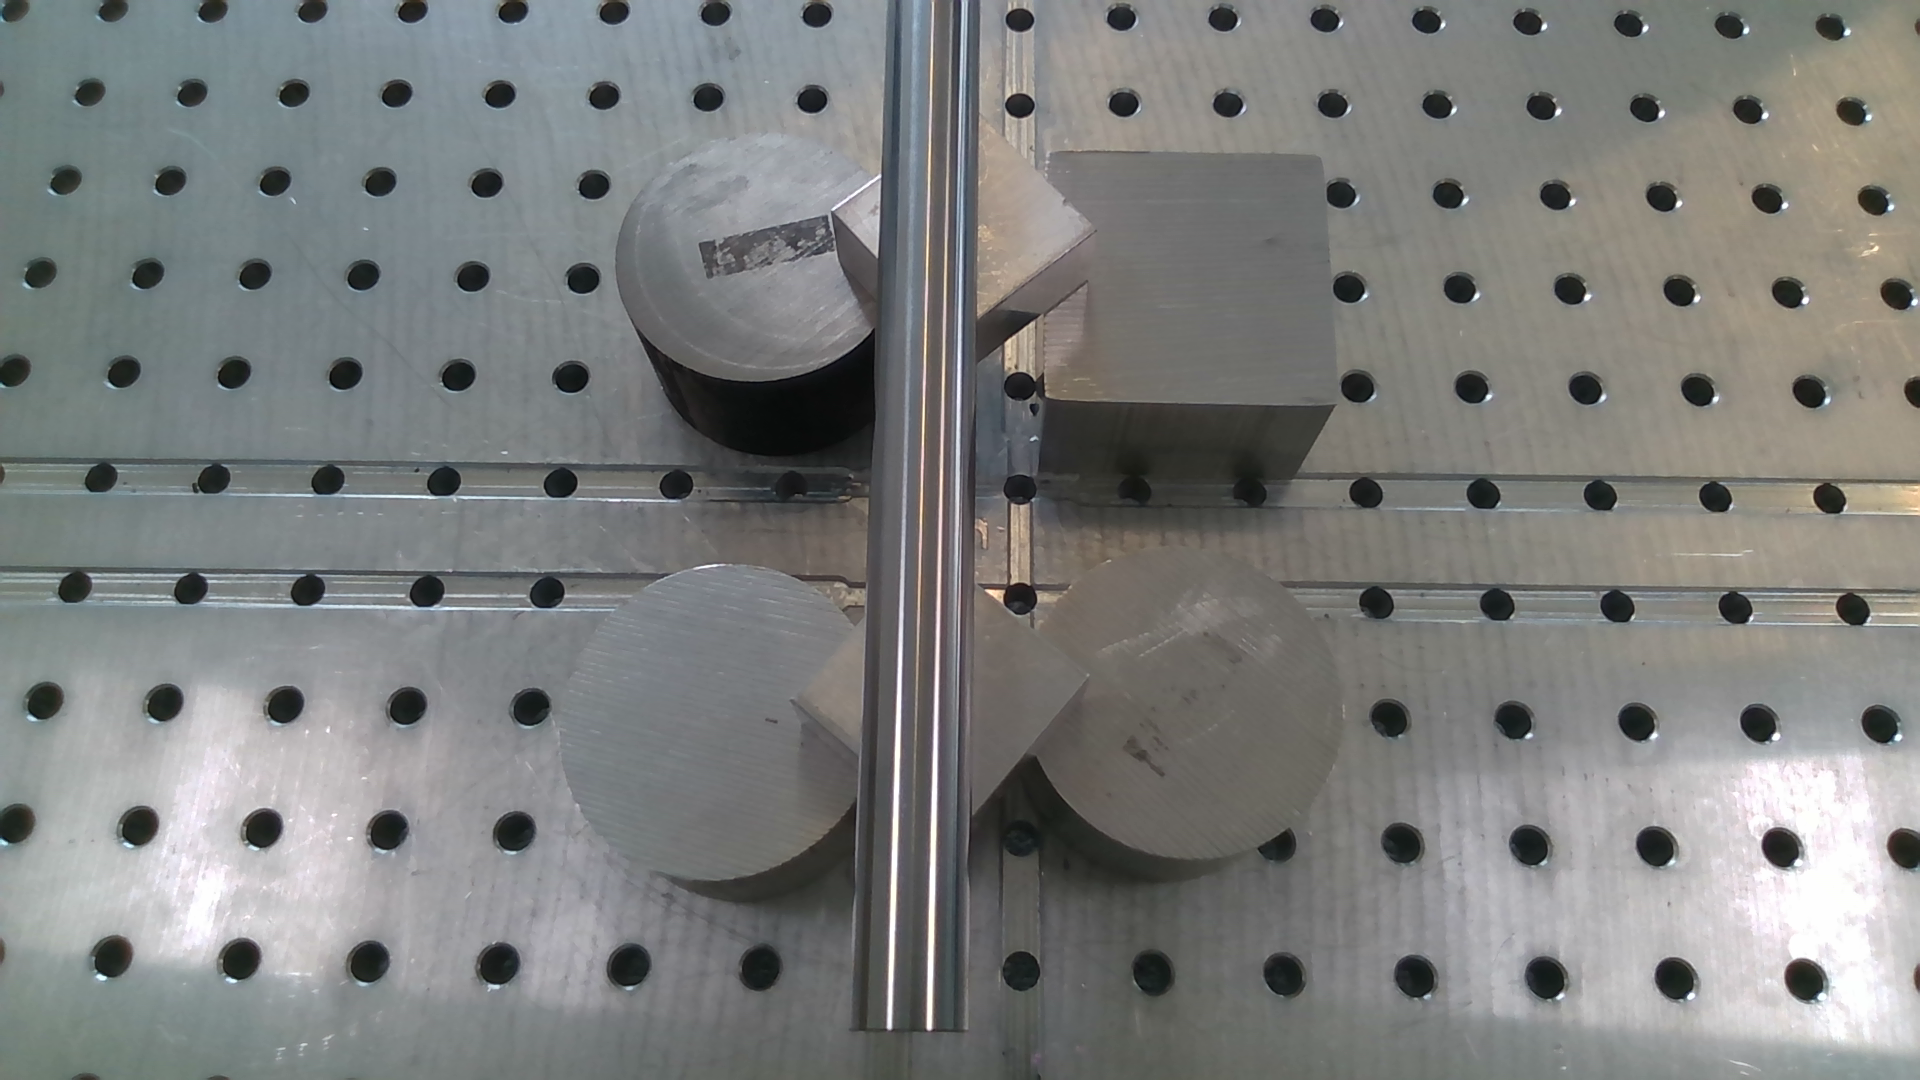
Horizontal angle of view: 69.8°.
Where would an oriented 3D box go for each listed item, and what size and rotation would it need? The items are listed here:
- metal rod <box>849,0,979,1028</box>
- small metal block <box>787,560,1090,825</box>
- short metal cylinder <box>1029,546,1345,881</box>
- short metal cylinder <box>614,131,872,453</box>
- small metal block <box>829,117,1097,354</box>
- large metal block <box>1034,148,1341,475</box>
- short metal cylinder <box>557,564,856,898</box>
[{"bbox_3d":[-0.009,-0.041,0.333,0.025,0.025,0.299,1,70,0],"label":"metal rod"},{"bbox_3d":[-0.005,0.038,0.332,0.050,0.025,0.050,39,75,13],"label":"small metal block"},{"bbox_3d":[0.056,0.048,0.368,0.080,0.050,0.080,0,70,0],"label":"short metal cylinder"},{"bbox_3d":[-0.057,-0.073,0.410,0.080,0.050,0.080,0,70,0],"label":"short metal cylinder"},{"bbox_3d":[0.001,-0.081,0.374,0.050,0.025,0.050,-38,75,-12],"label":"small metal block"},{"bbox_3d":[0.063,-0.067,0.408,0.080,0.050,0.080,1,70,0],"label":"large metal block"},{"bbox_3d":[-0.060,0.052,0.367,0.080,0.050,0.080,0,70,0],"label":"short metal cylinder"}]
